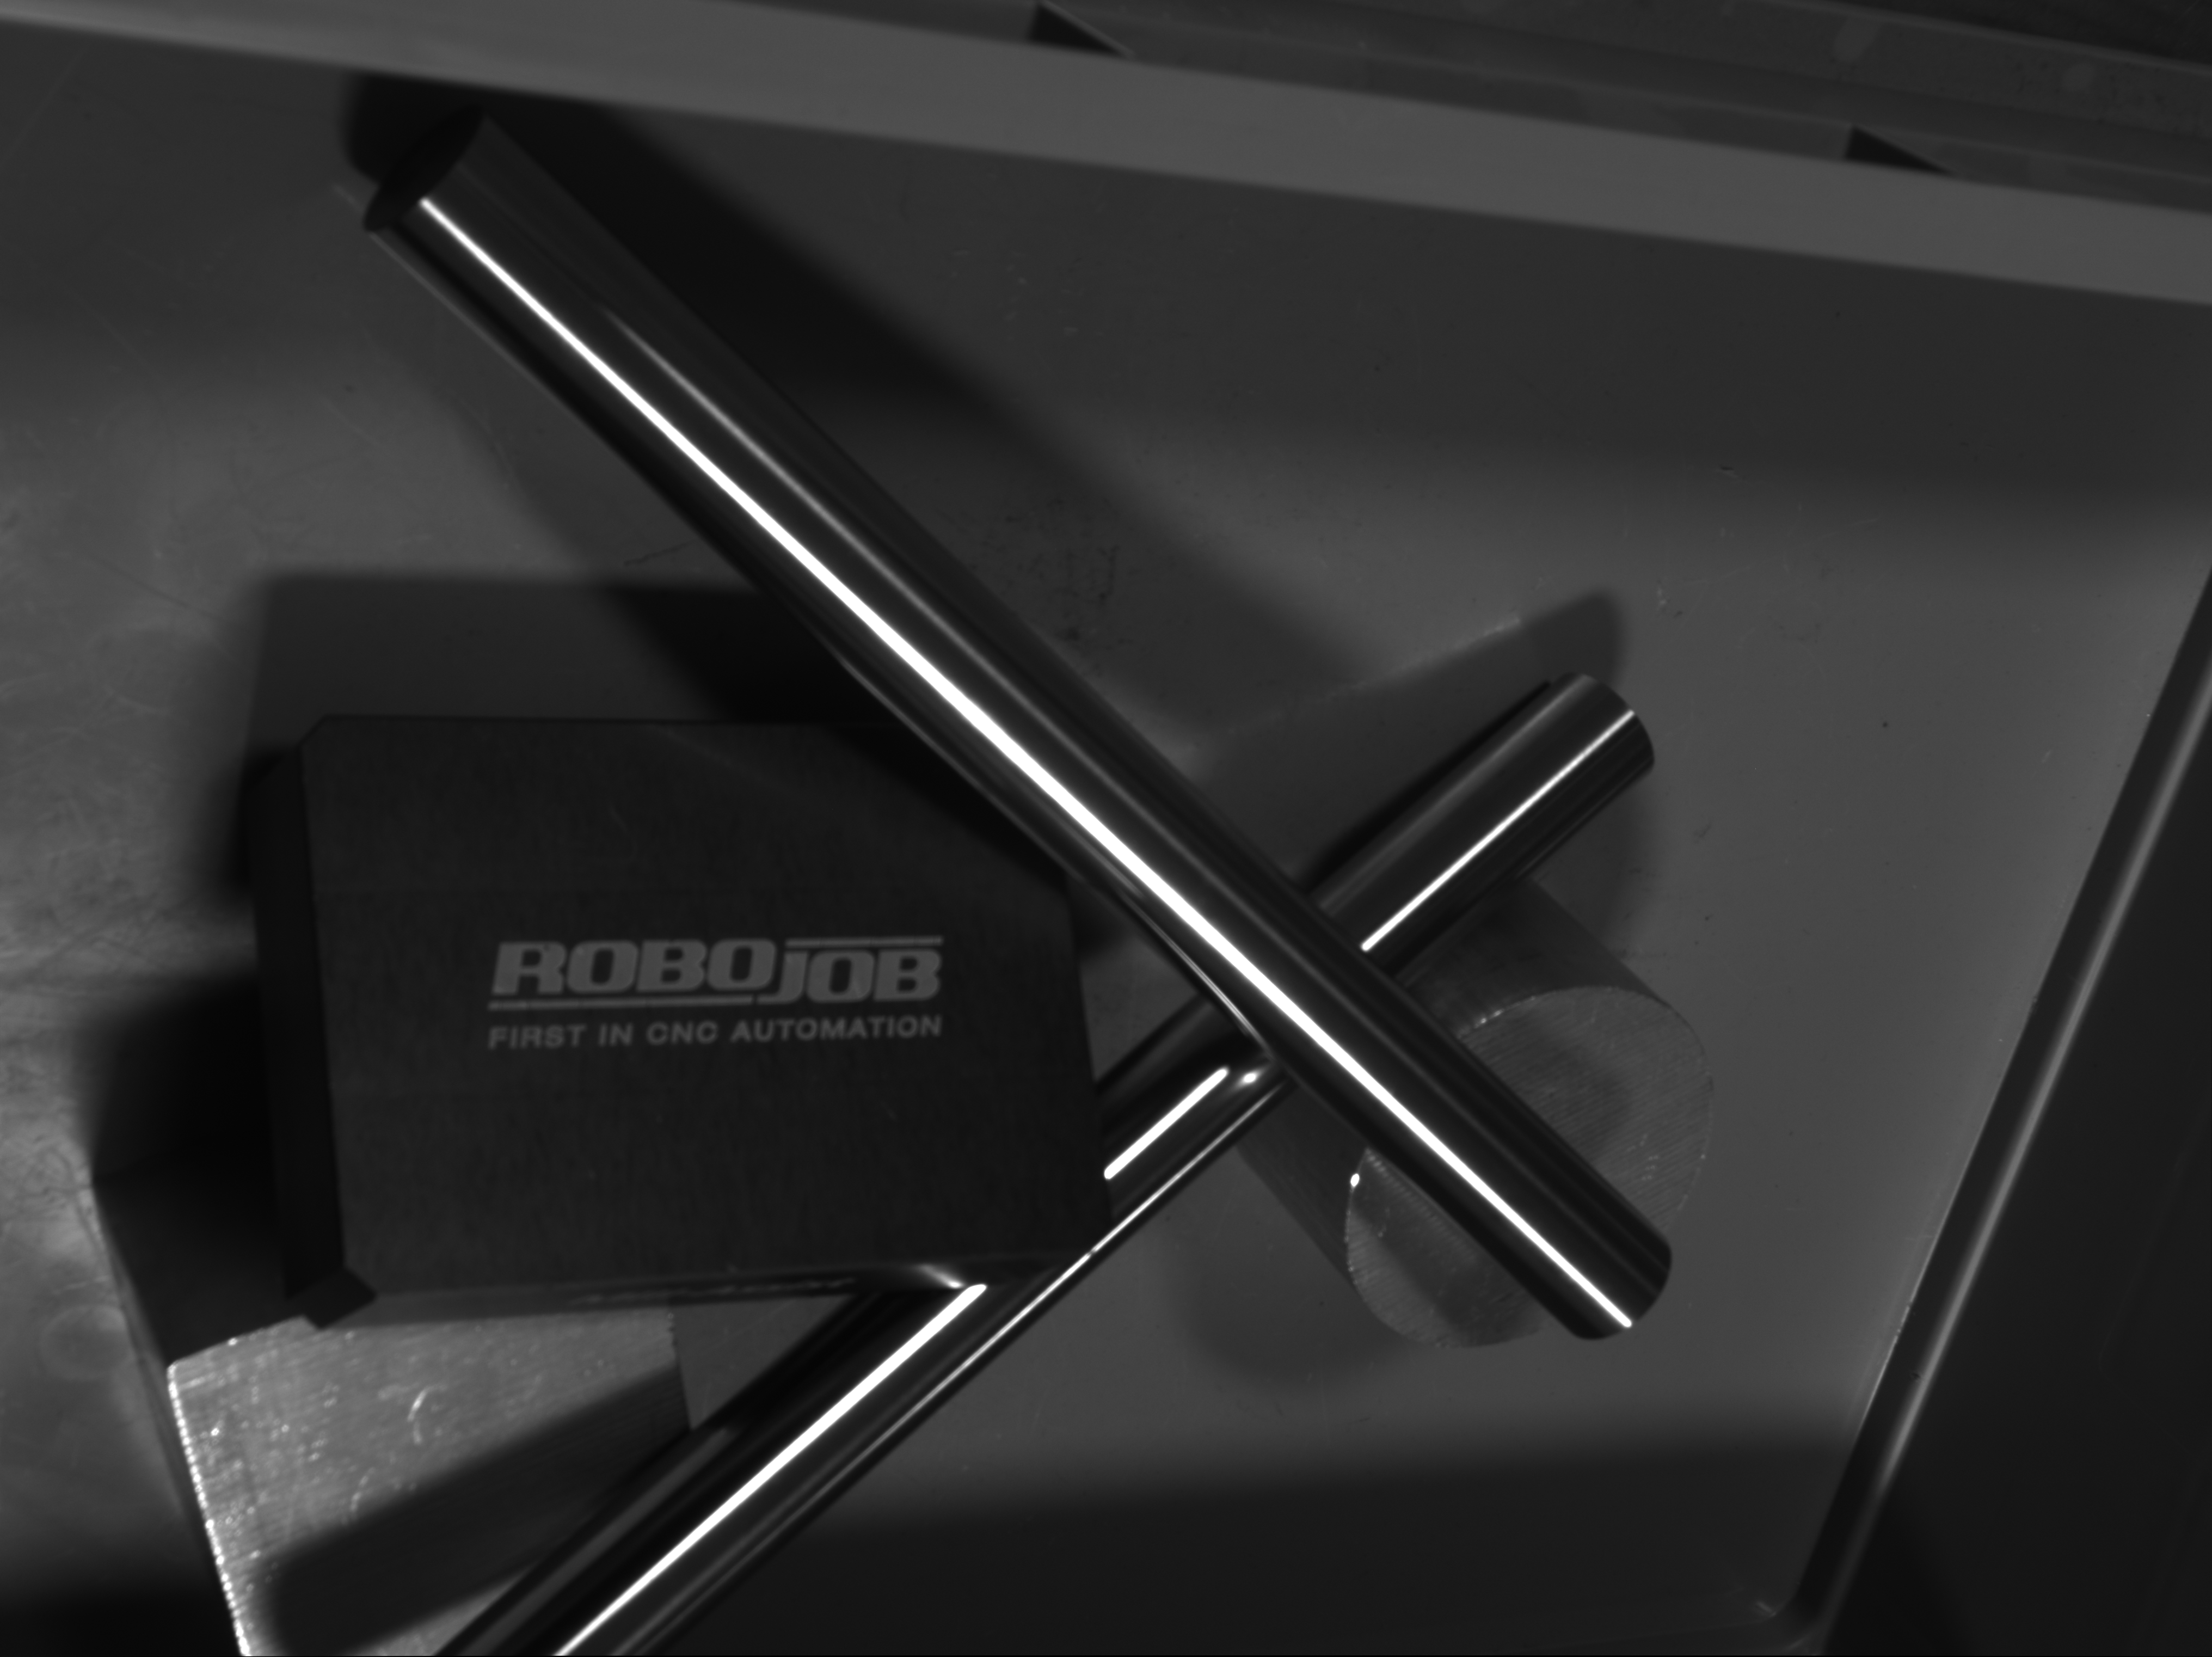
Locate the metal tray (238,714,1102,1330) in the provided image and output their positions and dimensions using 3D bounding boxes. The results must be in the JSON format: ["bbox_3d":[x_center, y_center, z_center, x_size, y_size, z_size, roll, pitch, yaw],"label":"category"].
[{"bbox_3d":[-0.069,0.031,0.589,0.130,0.030,0.090,1,74,-29],"label":"metal tray"}]

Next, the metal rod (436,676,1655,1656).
[{"bbox_3d":[-0.014,0.071,0.637,0.300,0.025,0.025,-40,132,-21],"label":"metal rod"}]

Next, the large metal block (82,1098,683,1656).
[{"bbox_3d":[-0.119,0.093,0.618,0.080,0.050,0.080,-18,126,-20],"label":"large metal block"}]

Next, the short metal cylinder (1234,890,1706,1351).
[{"bbox_3d":[0.068,0.053,0.704,0.080,0.050,0.080,-15,125,-22],"label":"short metal cylinder"}]

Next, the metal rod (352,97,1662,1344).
[{"bbox_3d":[-0.004,-0.007,0.604,0.025,0.025,0.301,-46,118,2],"label":"metal rod"}]
